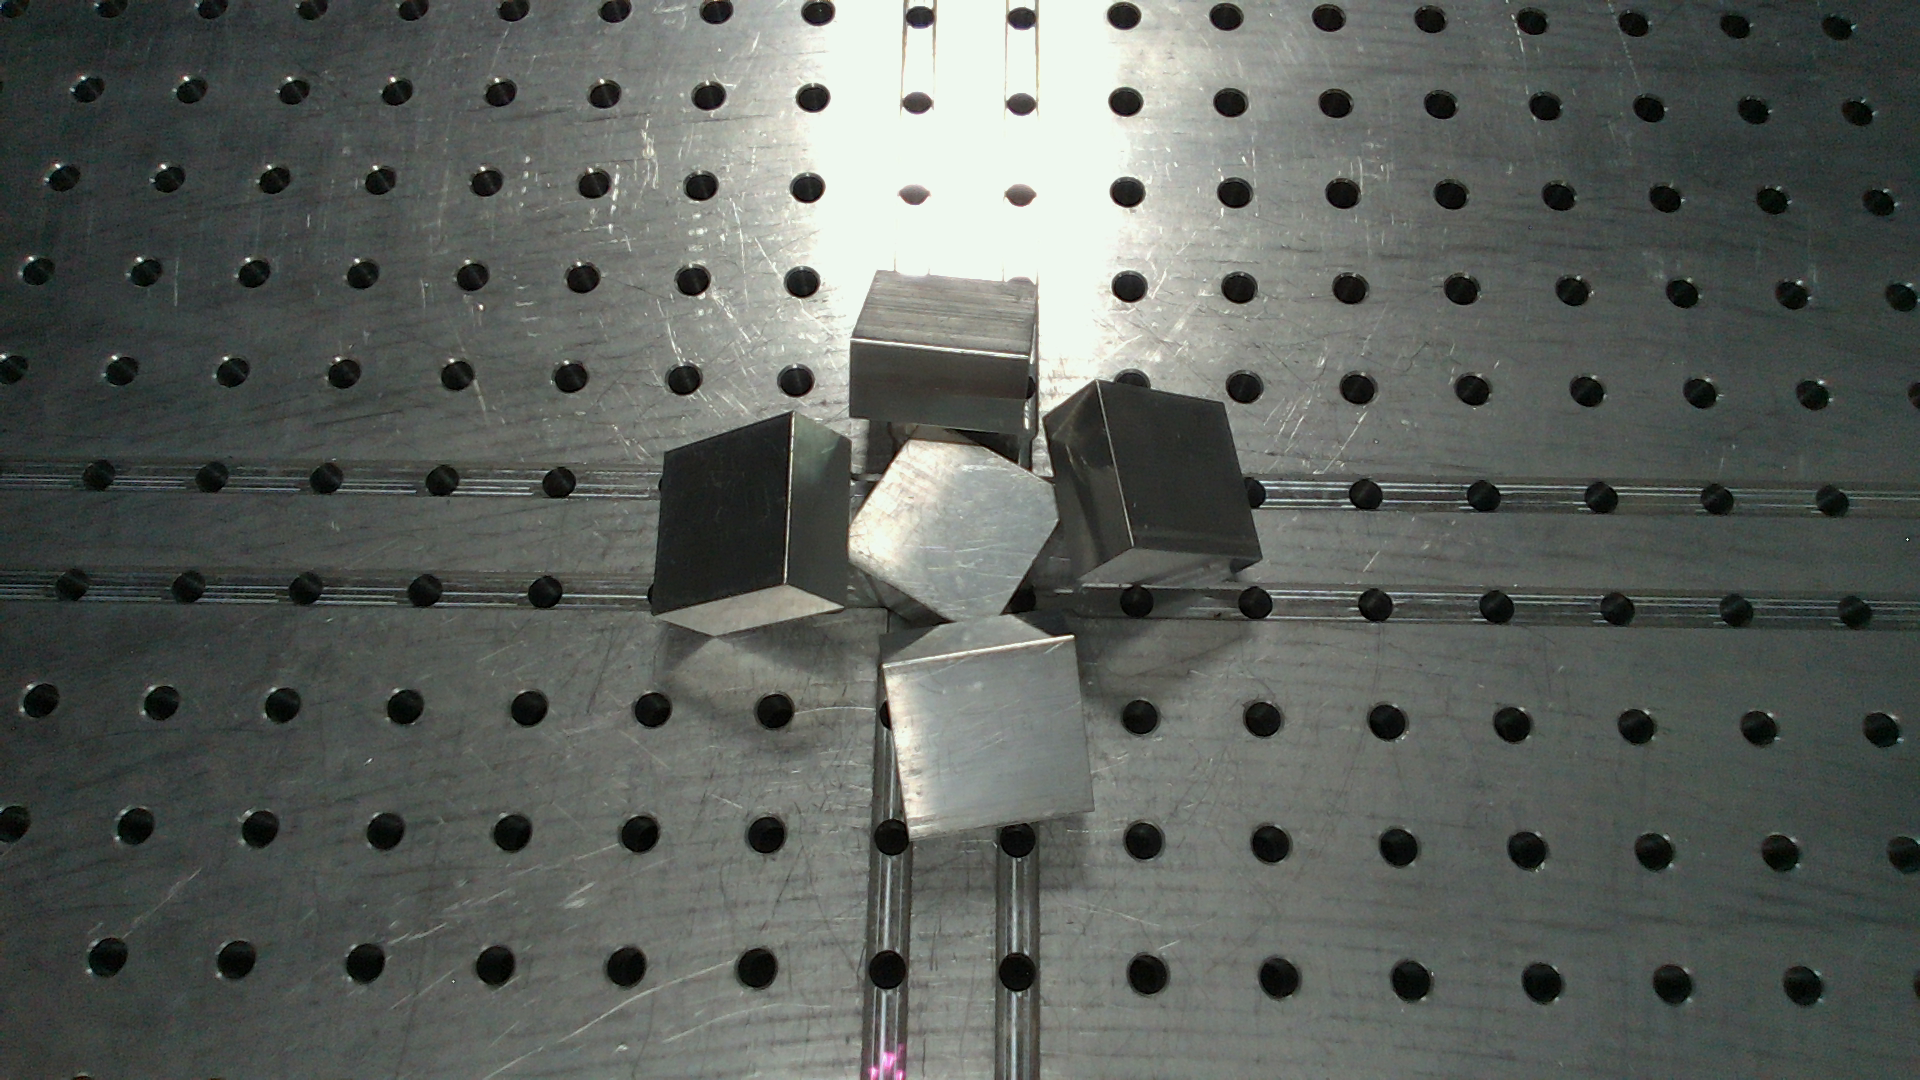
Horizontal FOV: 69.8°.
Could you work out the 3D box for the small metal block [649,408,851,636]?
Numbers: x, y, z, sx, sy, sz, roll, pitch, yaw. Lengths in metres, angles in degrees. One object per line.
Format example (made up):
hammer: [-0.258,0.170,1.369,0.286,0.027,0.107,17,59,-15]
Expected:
small metal block: [-0.059,-0.004,0.386,0.050,0.025,0.050,-14,66,32]

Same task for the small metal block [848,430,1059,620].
small metal block: [-0.002,-0.001,0.397,0.050,0.025,0.050,30,73,10]

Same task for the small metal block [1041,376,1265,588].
small metal block: [0.054,-0.015,0.390,0.050,0.025,0.050,5,65,-36]

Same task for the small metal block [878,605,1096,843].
small metal block: [0.007,0.048,0.366,0.050,0.025,0.050,-9,106,-3]

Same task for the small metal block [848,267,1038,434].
small metal block: [-0.004,-0.057,0.404,0.050,0.025,0.050,6,34,2]
